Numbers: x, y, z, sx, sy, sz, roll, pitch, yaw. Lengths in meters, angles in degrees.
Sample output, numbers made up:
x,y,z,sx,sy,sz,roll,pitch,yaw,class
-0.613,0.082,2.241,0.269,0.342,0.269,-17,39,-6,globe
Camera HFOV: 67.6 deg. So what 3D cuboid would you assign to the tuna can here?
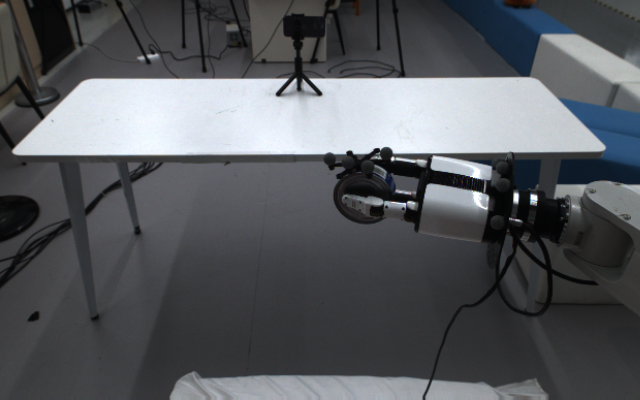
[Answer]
x,y,z,sx,sy,sz,roll,pitch,yaw,class
0.065,-0.010,0.688,0.085,0.085,0.034,10,33,11,tuna can
